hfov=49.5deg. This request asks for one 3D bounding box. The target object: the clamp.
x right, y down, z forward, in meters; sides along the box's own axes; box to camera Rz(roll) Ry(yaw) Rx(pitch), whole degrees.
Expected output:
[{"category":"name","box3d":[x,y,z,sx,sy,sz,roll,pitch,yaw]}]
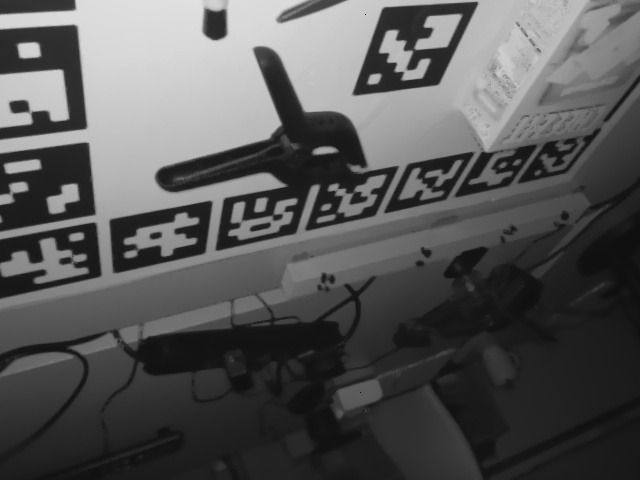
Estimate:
[{"category":"clamp","box3d":[-0.016,-0.088,0.686,0.206,0.037,0.163,9,138,-47]}]

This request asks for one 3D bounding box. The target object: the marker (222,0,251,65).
[{"category":"marker","box3d":[-0.058,-0.172,0.495,0.020,0.019,0.119,-15,151,-19]}]

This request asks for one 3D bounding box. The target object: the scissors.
[{"category":"scissors","box3d":[0.070,-0.199,0.556,0.202,0.016,0.088,-25,154,4]}]

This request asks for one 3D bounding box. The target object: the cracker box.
[{"category":"cracker box","box3d":[0.274,-0.182,0.701,0.166,0.072,0.210,-12,150,-24]}]
